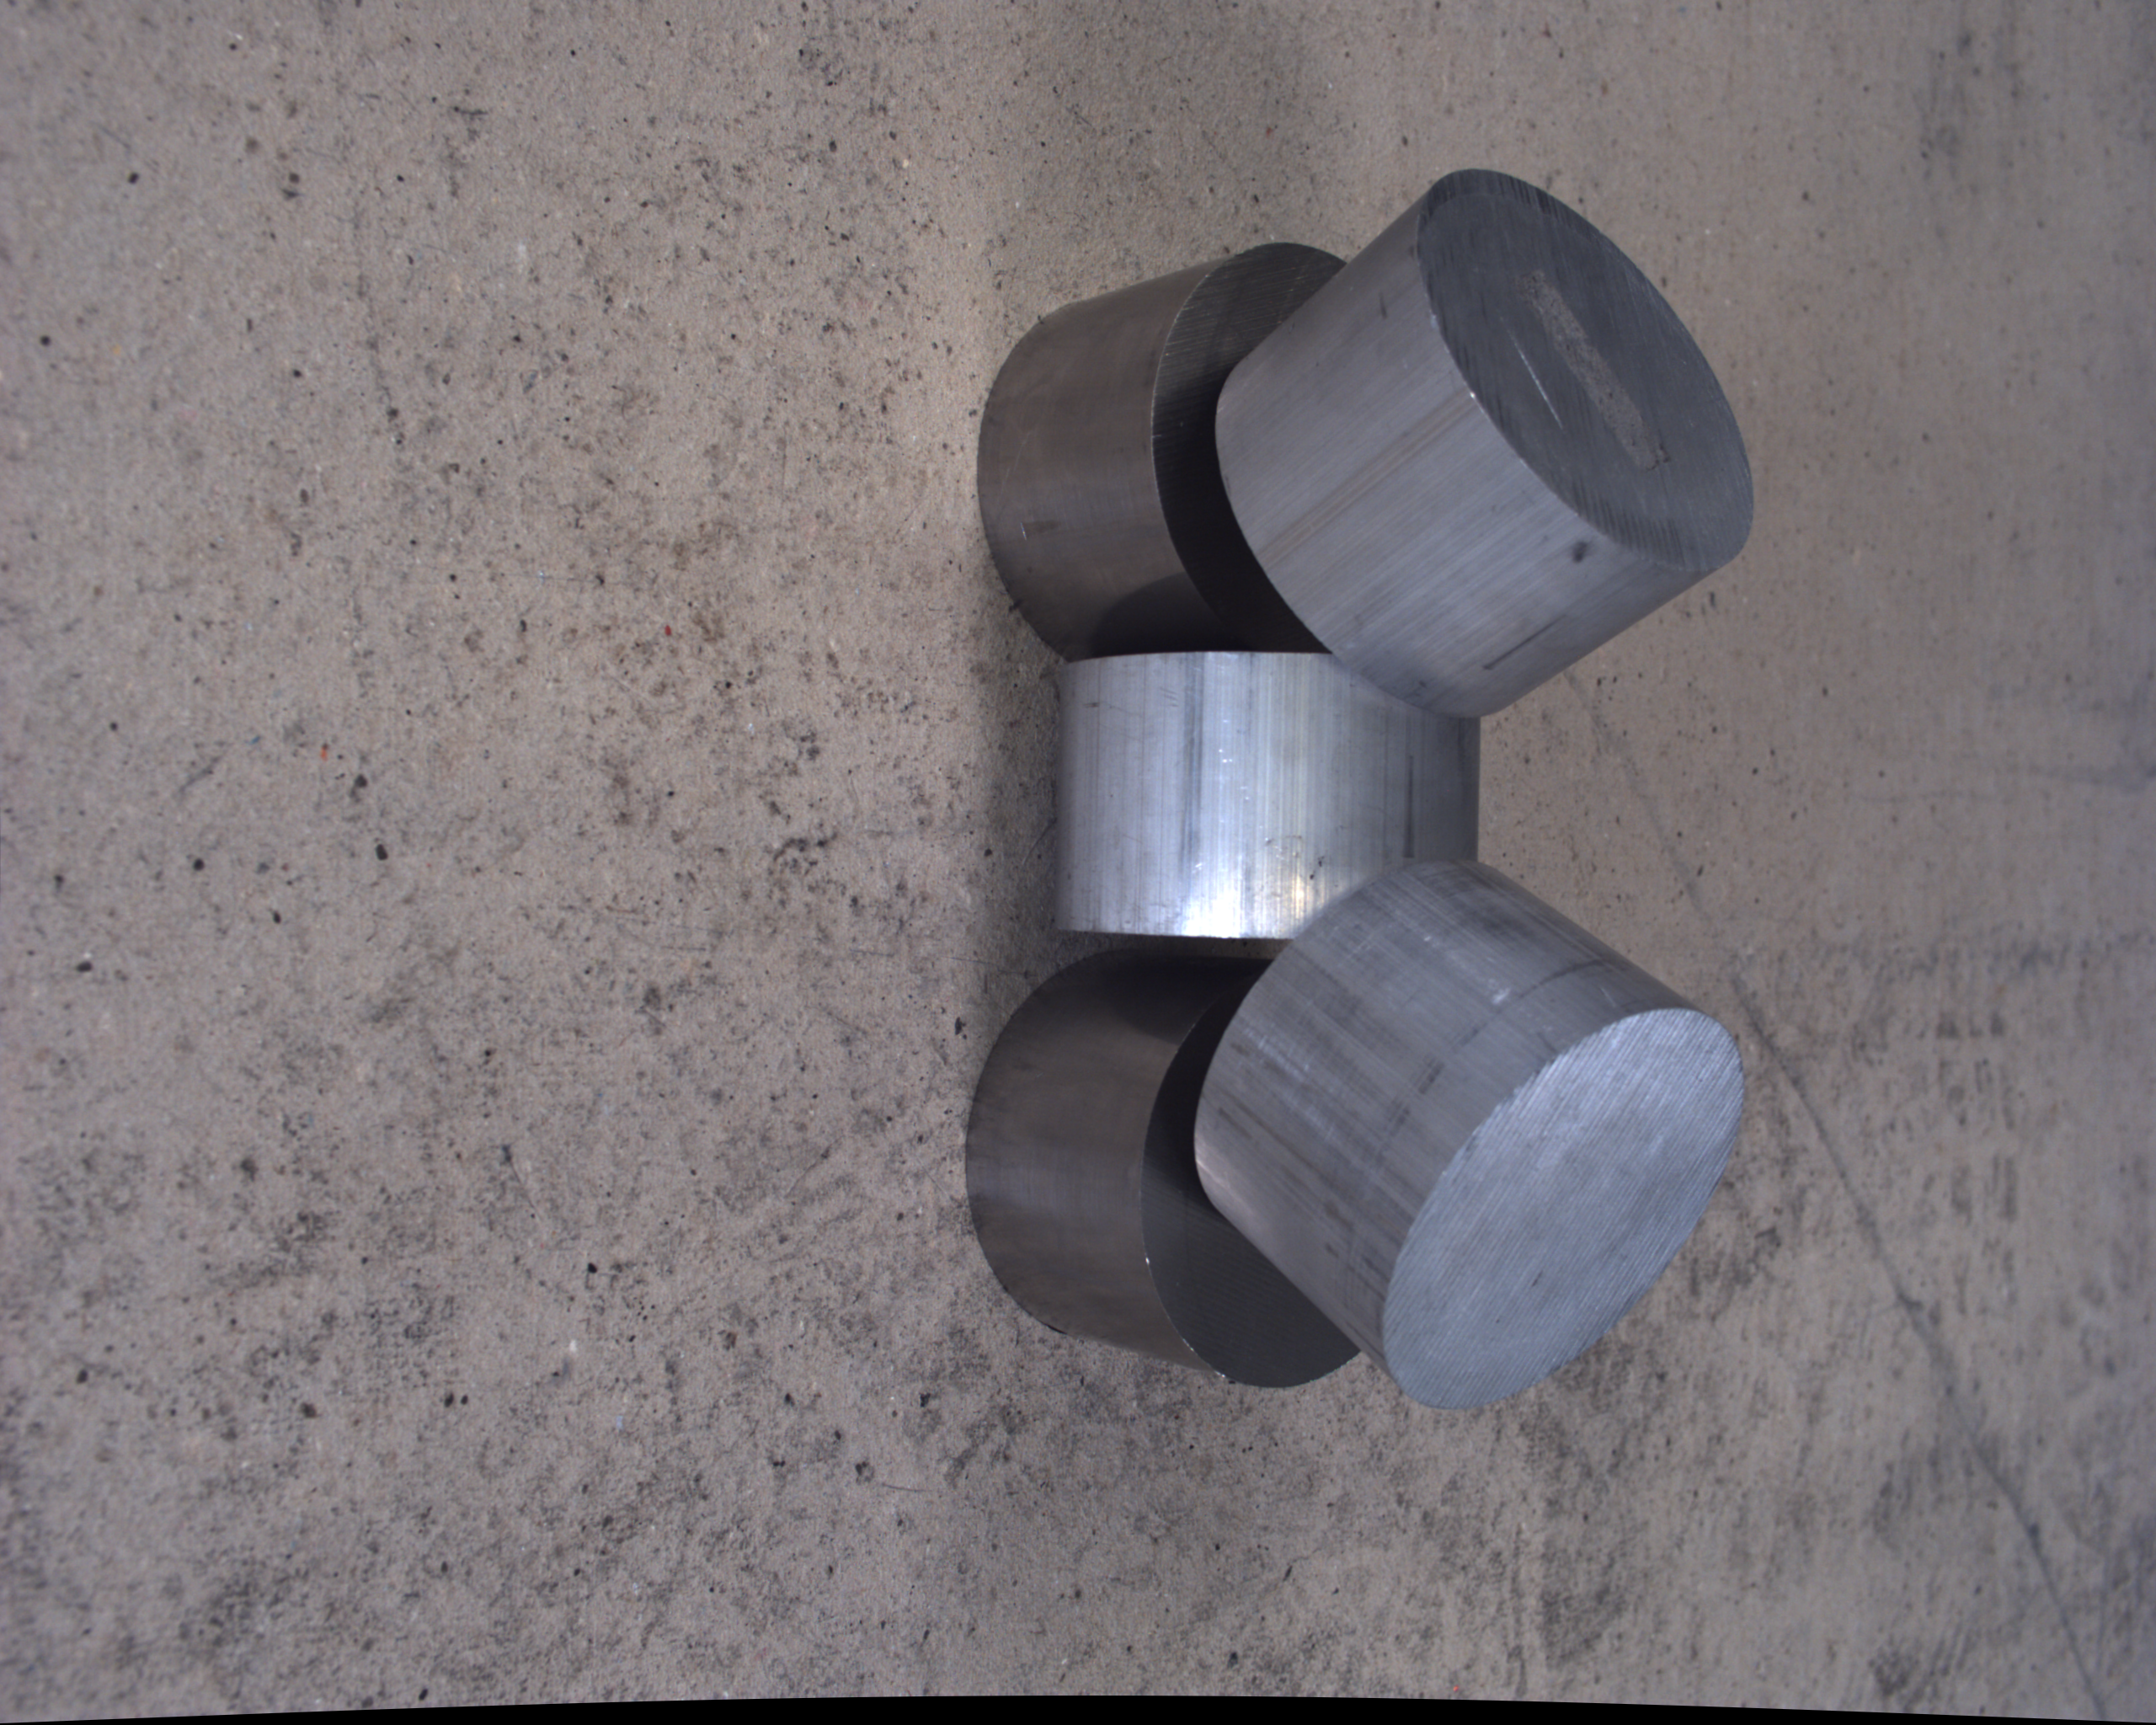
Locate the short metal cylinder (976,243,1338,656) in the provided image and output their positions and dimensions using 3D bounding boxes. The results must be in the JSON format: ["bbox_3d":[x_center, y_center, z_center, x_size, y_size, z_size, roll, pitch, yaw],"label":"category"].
[{"bbox_3d":[0.027,-0.077,0.413,0.081,0.050,0.080,0,90,-40],"label":"short metal cylinder"}]

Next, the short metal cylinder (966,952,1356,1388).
[{"bbox_3d":[0.025,0.058,0.411,0.081,0.050,0.080,0,90,-40],"label":"short metal cylinder"}]

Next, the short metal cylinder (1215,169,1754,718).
[{"bbox_3d":[0.071,-0.072,0.365,0.080,0.050,0.080,21,52,-30],"label":"short metal cylinder"}]

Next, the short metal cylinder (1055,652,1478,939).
[{"bbox_3d":[0.036,-0.011,0.401,0.081,0.080,0.050,2,89,-40],"label":"short metal cylinder"}]

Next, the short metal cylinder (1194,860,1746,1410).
[{"bbox_3d":[0.068,0.046,0.360,0.081,0.050,0.079,-21,129,-27],"label":"short metal cylinder"}]
